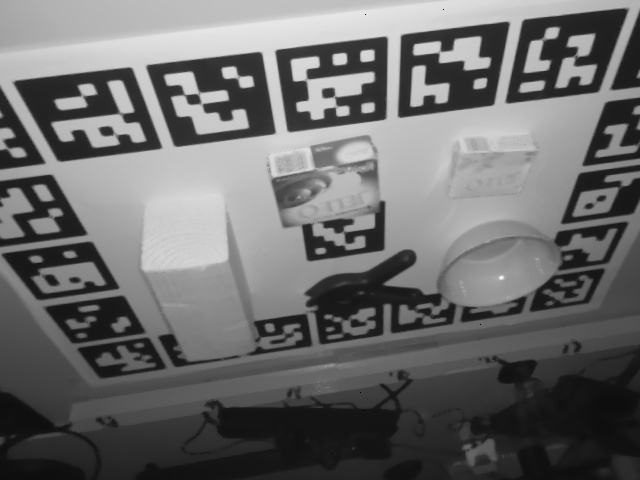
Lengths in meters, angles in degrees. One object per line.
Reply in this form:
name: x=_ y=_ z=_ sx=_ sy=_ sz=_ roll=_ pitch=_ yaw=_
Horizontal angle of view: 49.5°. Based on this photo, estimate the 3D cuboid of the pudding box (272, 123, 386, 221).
pudding box: x=0.012 y=-0.071 z=0.725 sx=0.114 sy=0.039 sz=0.089 roll=-10 pitch=137 yaw=-3

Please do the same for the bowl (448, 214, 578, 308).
bowl: x=0.236 y=0.017 z=0.873 sx=0.162 sy=0.055 sz=0.160 roll=-5 pitch=138 yaw=-4

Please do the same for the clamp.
clamp: x=0.078 y=0.057 z=0.905 sx=0.164 sy=0.037 sz=0.121 roll=-14 pitch=141 yaw=8

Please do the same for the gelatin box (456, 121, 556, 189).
gelatin box: x=0.198 y=-0.090 z=0.744 sx=0.090 sy=0.030 sz=0.072 roll=-3 pitch=138 yaw=-8

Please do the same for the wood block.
wood block: x=-0.133 y=0.044 z=0.791 sx=0.090 sy=0.091 sz=0.204 roll=-6 pitch=140 yaw=-2
